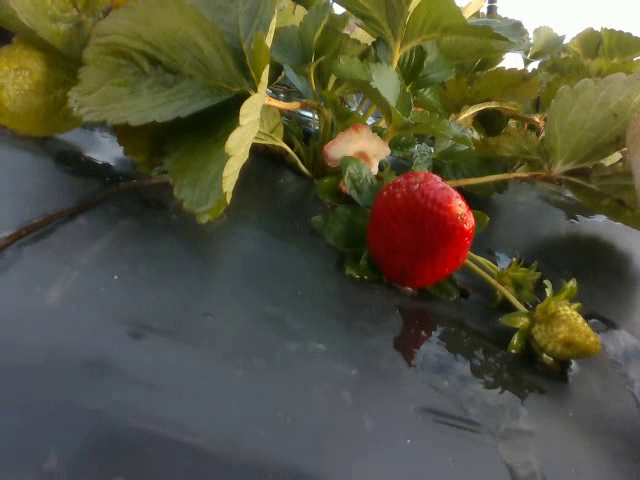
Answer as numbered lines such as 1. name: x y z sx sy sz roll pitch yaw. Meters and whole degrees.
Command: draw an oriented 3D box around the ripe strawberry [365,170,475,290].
1. ripe strawberry: 0.044 -0.006 0.227 0.043 0.052 0.057 -10 -9 -11
